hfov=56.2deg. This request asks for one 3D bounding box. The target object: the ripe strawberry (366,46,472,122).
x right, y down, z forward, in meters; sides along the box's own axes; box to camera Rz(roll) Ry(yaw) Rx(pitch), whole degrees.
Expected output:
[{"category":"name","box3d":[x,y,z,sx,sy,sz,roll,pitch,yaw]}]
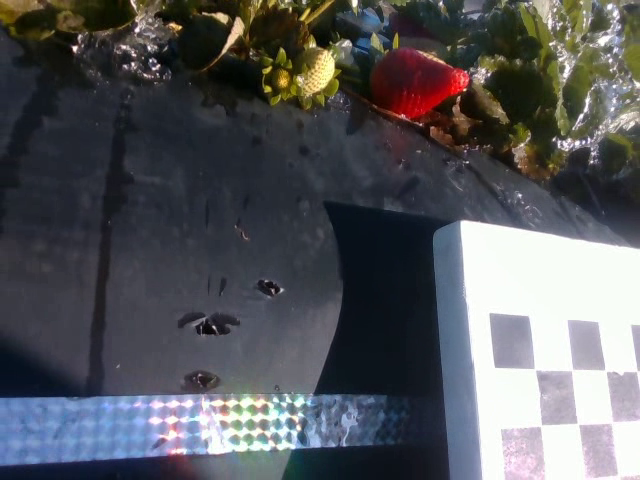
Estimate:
[{"category":"ripe strawberry","box3d":[0.050,-0.077,0.294,0.053,0.042,0.040,12,35,44]}]
